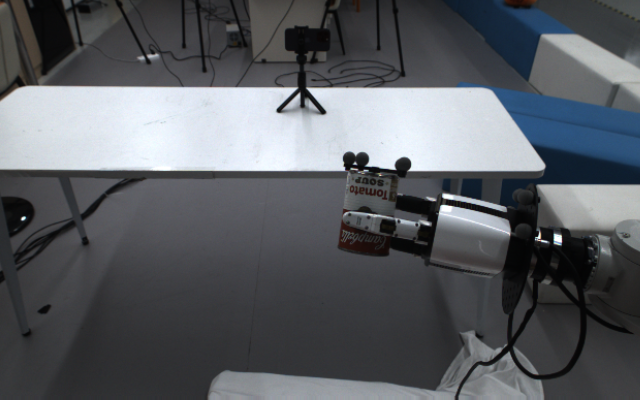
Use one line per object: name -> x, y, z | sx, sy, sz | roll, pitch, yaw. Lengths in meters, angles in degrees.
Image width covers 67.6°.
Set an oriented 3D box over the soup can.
soup can -> 0.064, 0.015, 0.621 | 0.067, 0.101, 0.067 | 7, 4, 0
